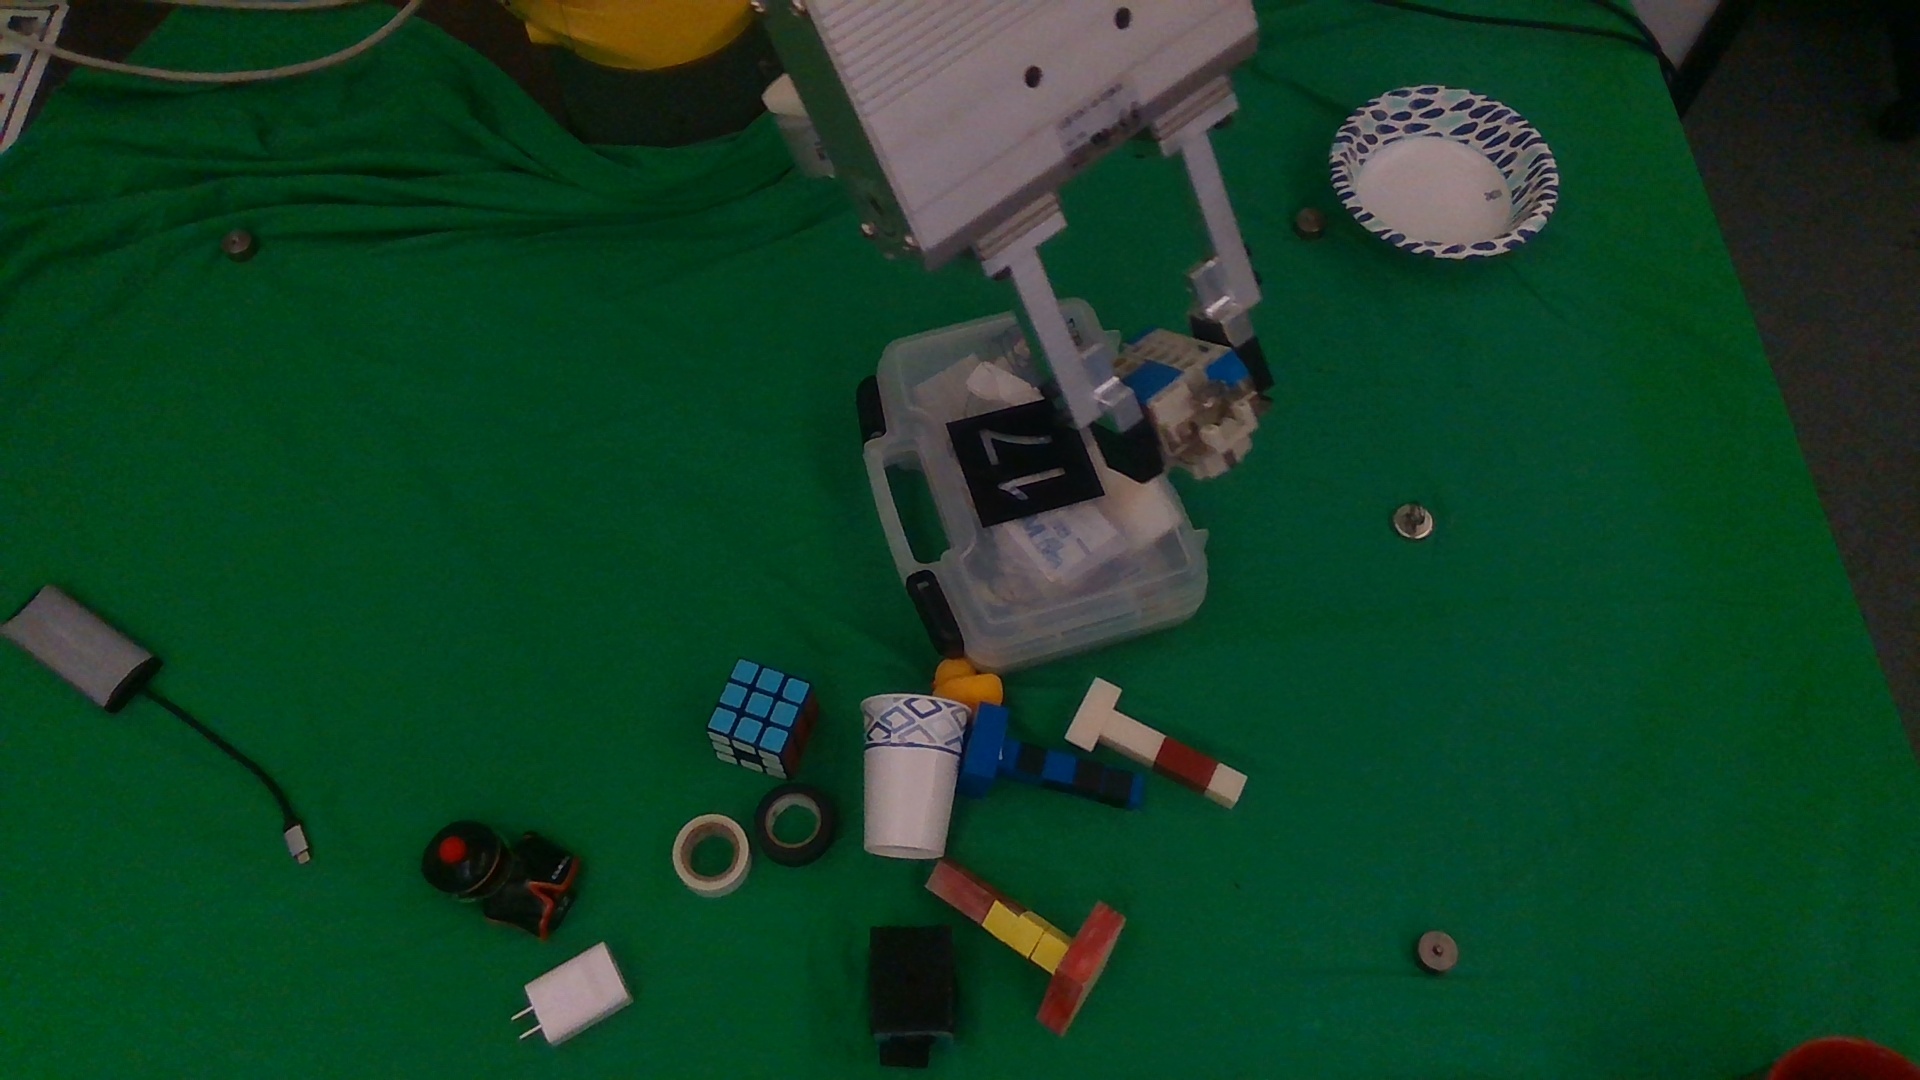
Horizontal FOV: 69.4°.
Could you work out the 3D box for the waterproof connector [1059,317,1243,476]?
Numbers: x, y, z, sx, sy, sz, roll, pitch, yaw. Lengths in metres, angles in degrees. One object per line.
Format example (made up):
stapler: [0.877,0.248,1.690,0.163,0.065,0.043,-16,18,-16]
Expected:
waterproof connector: [0.058,-0.044,0.436,0.035,0.037,0.065,-30,28,-11]

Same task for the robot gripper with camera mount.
robot gripper with camera mount: [-0.011,-0.109,0.456,0.119,0.158,0.194,-34,30,-21]
